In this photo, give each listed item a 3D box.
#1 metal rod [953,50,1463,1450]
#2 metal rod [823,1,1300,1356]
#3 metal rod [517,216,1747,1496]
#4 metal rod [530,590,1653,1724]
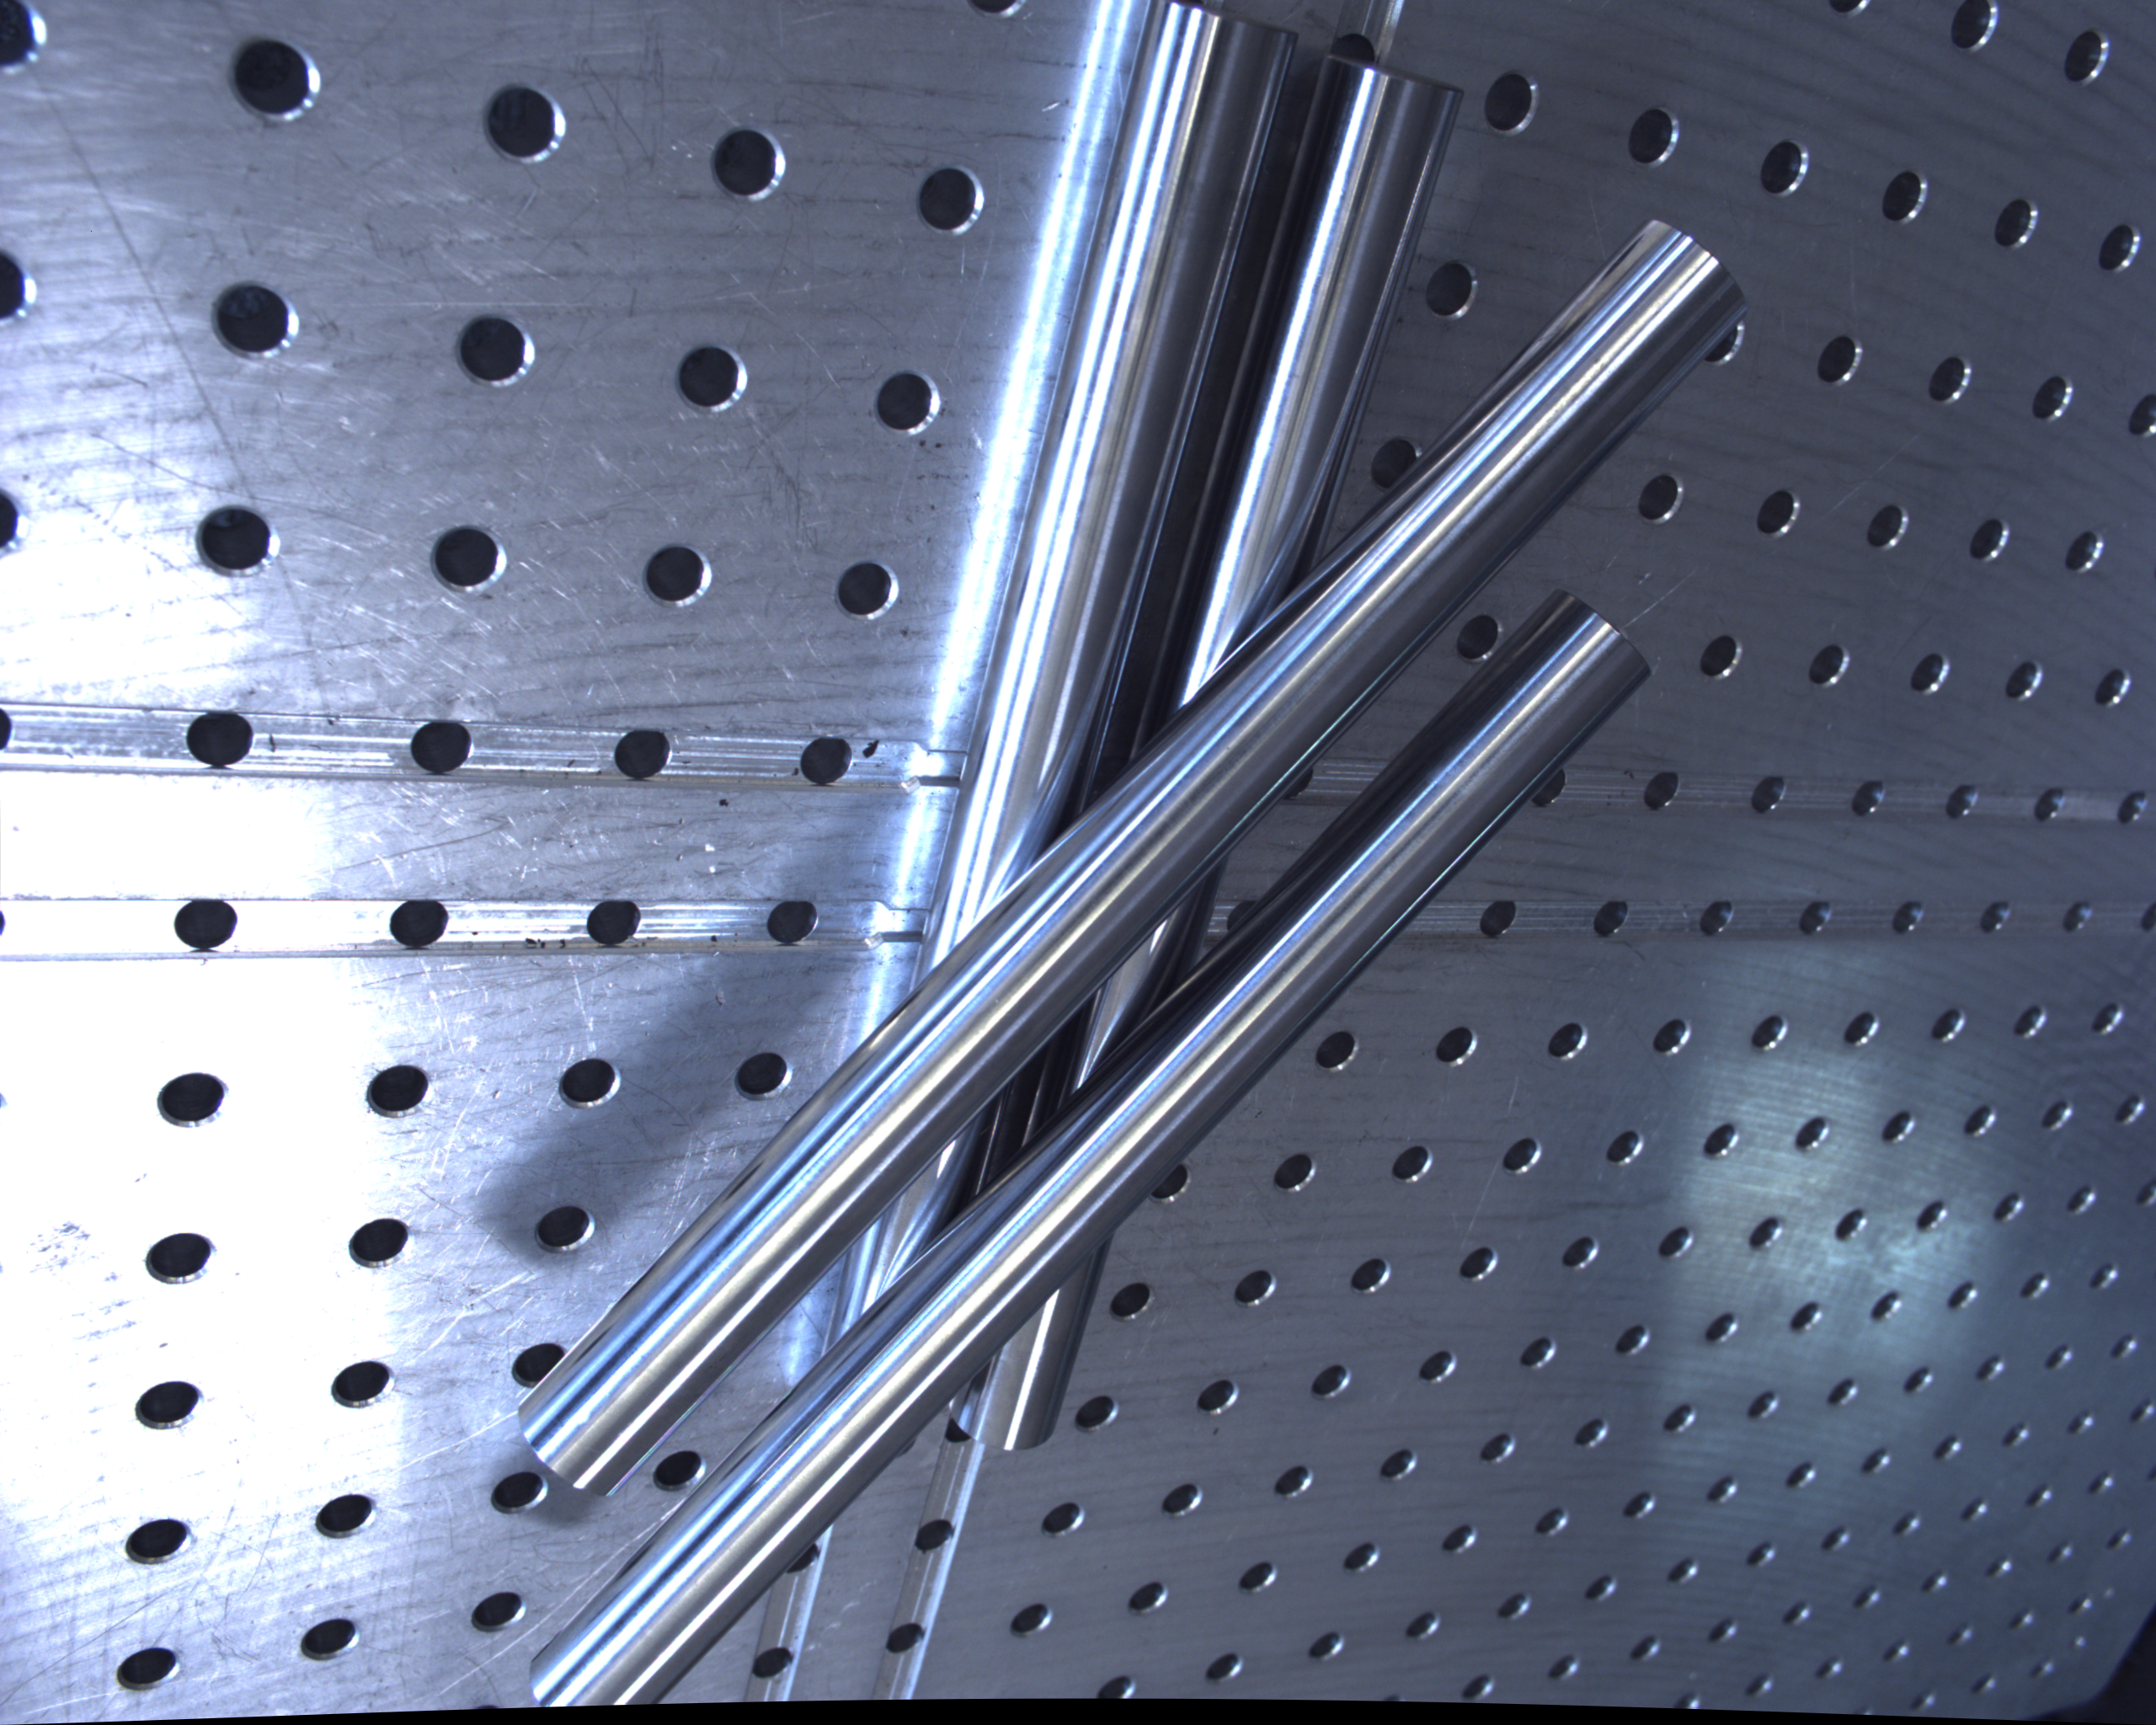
[{"bbox_3d":[0.018,-0.005,0.418,0.025,0.025,0.298,1,118,-29],"label":"metal rod"},{"bbox_3d":[-0.012,-0.007,0.400,0.025,0.025,0.298,1,118,-29],"label":"metal rod"},{"bbox_3d":[0.007,0.002,0.384,0.300,0.025,0.025,-46,129,4],"label":"metal rod"},{"bbox_3d":[0.000,0.064,0.417,0.300,0.025,0.025,-47,129,4],"label":"metal rod"}]
